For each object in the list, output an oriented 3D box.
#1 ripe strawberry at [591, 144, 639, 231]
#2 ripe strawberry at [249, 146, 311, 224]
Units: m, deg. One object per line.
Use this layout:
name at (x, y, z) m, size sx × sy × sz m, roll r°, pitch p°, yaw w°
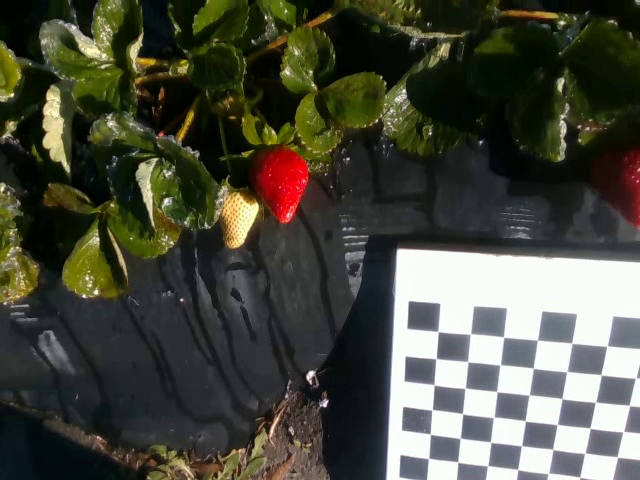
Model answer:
ripe strawberry at (0.198, -0.032, 0.359) m, size 0.049 × 0.061 × 0.044 m, roll -3°, pitch -13°, yaw 12°
ripe strawberry at (-0.025, -0.035, 0.409) m, size 0.043 × 0.061 × 0.046 m, roll -10°, pitch -24°, yaw 15°
